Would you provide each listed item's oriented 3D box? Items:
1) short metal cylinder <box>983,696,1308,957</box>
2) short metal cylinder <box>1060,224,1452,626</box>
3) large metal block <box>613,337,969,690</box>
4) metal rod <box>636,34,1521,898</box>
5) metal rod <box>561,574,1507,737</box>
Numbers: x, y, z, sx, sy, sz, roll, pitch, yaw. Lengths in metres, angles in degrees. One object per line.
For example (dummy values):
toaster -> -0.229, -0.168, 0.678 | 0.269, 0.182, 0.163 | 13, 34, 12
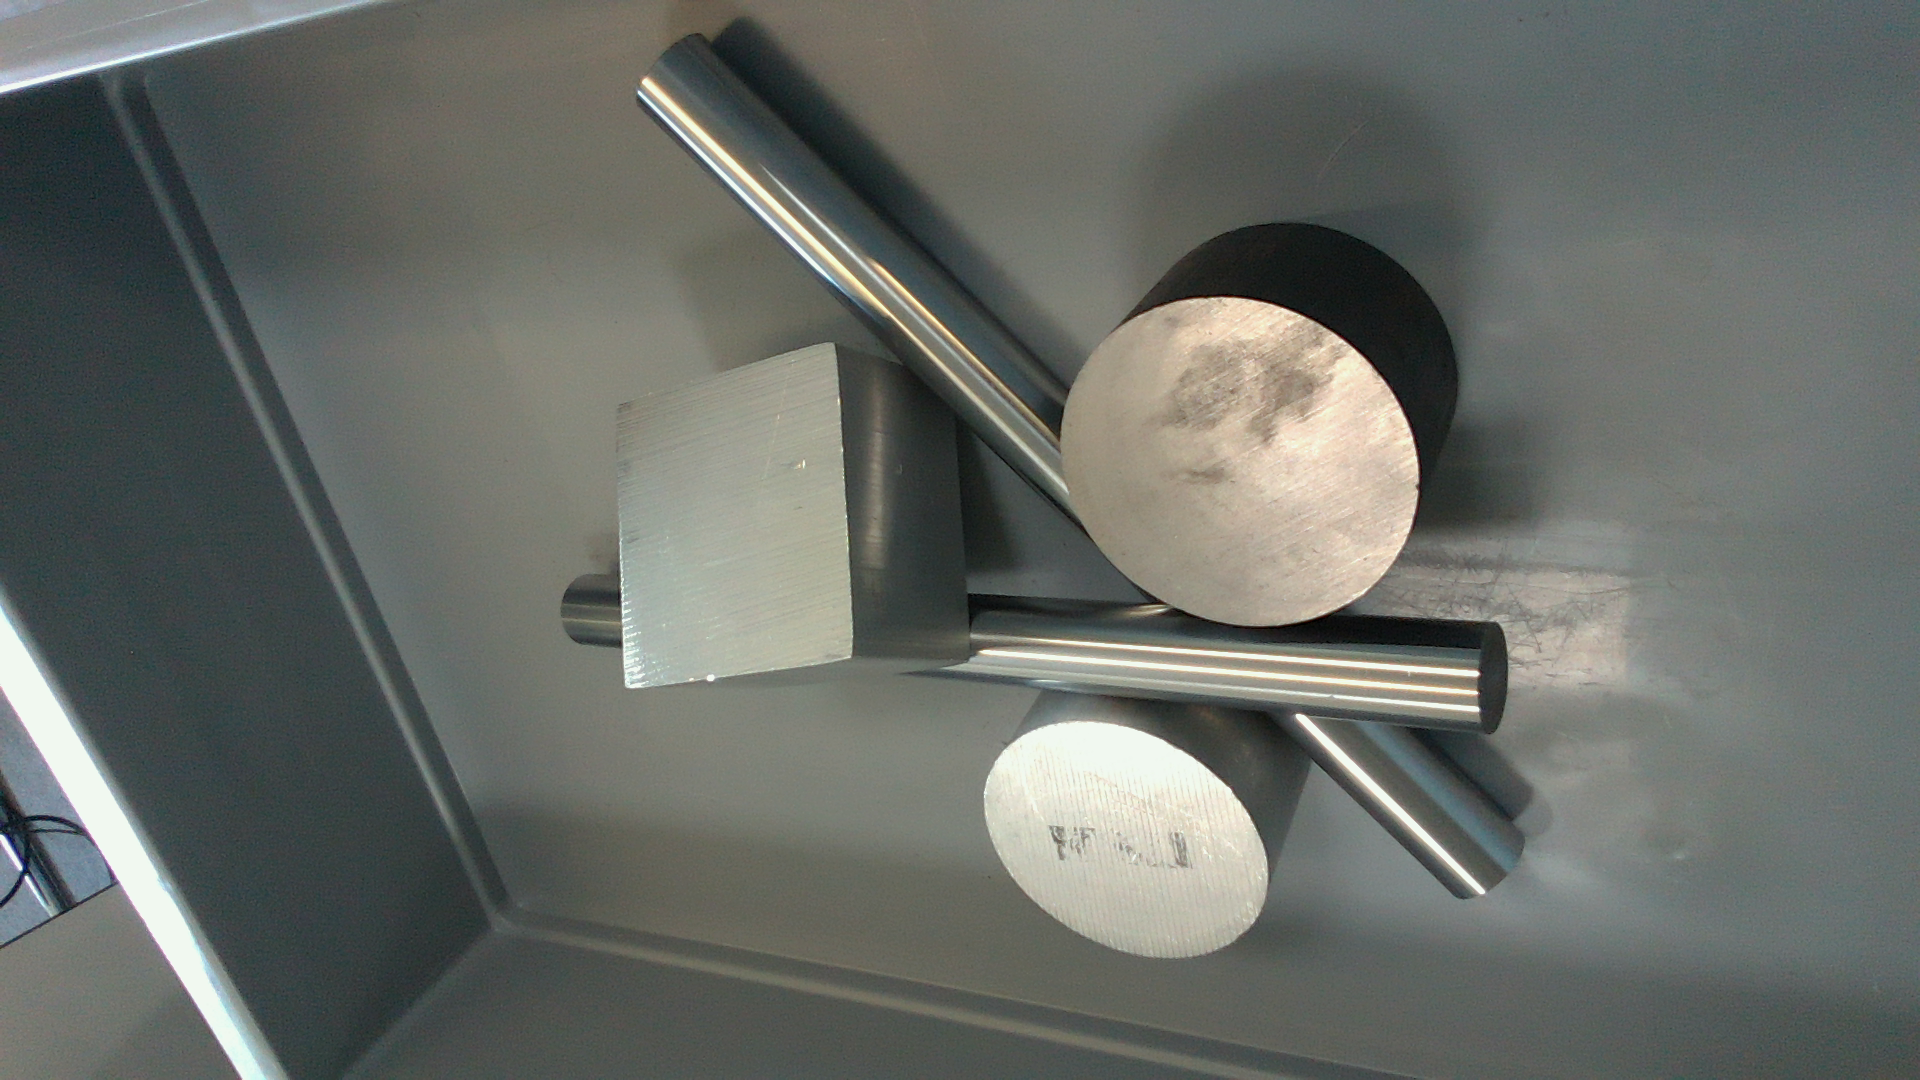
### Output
short metal cylinder -> 0.053, 0.070, 0.390 | 0.080, 0.050, 0.080 | 13, 124, 21
short metal cylinder -> 0.070, -0.027, 0.321 | 0.080, 0.050, 0.080 | 13, 124, 21
large metal block -> -0.047, -0.002, 0.376 | 0.080, 0.050, 0.080 | -10, 78, 33
metal rod -> 0.033, -0.017, 0.363 | 0.300, 0.025, 0.025 | 44, 129, -2
metal rod -> -0.005, 0.027, 0.389 | 0.299, 0.025, 0.025 | 2, 119, 35
